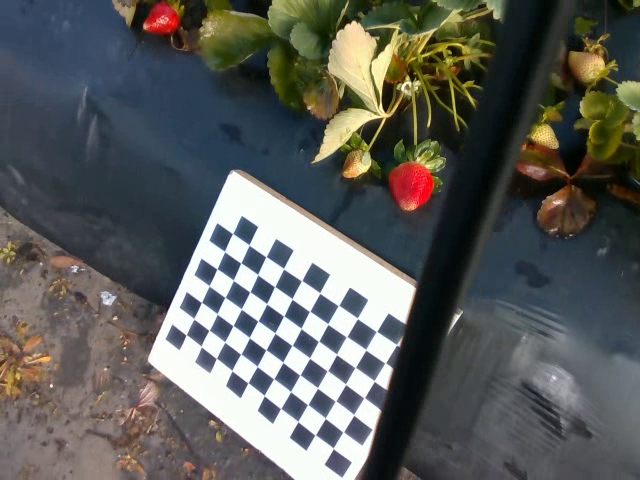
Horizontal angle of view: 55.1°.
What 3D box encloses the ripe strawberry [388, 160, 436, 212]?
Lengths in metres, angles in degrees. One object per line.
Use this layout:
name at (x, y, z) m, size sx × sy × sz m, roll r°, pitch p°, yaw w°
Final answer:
ripe strawberry at (0.092, -0.053, 0.621) m, size 0.050 × 0.050 × 0.065 m, roll -8°, pitch 39°, yaw 27°
